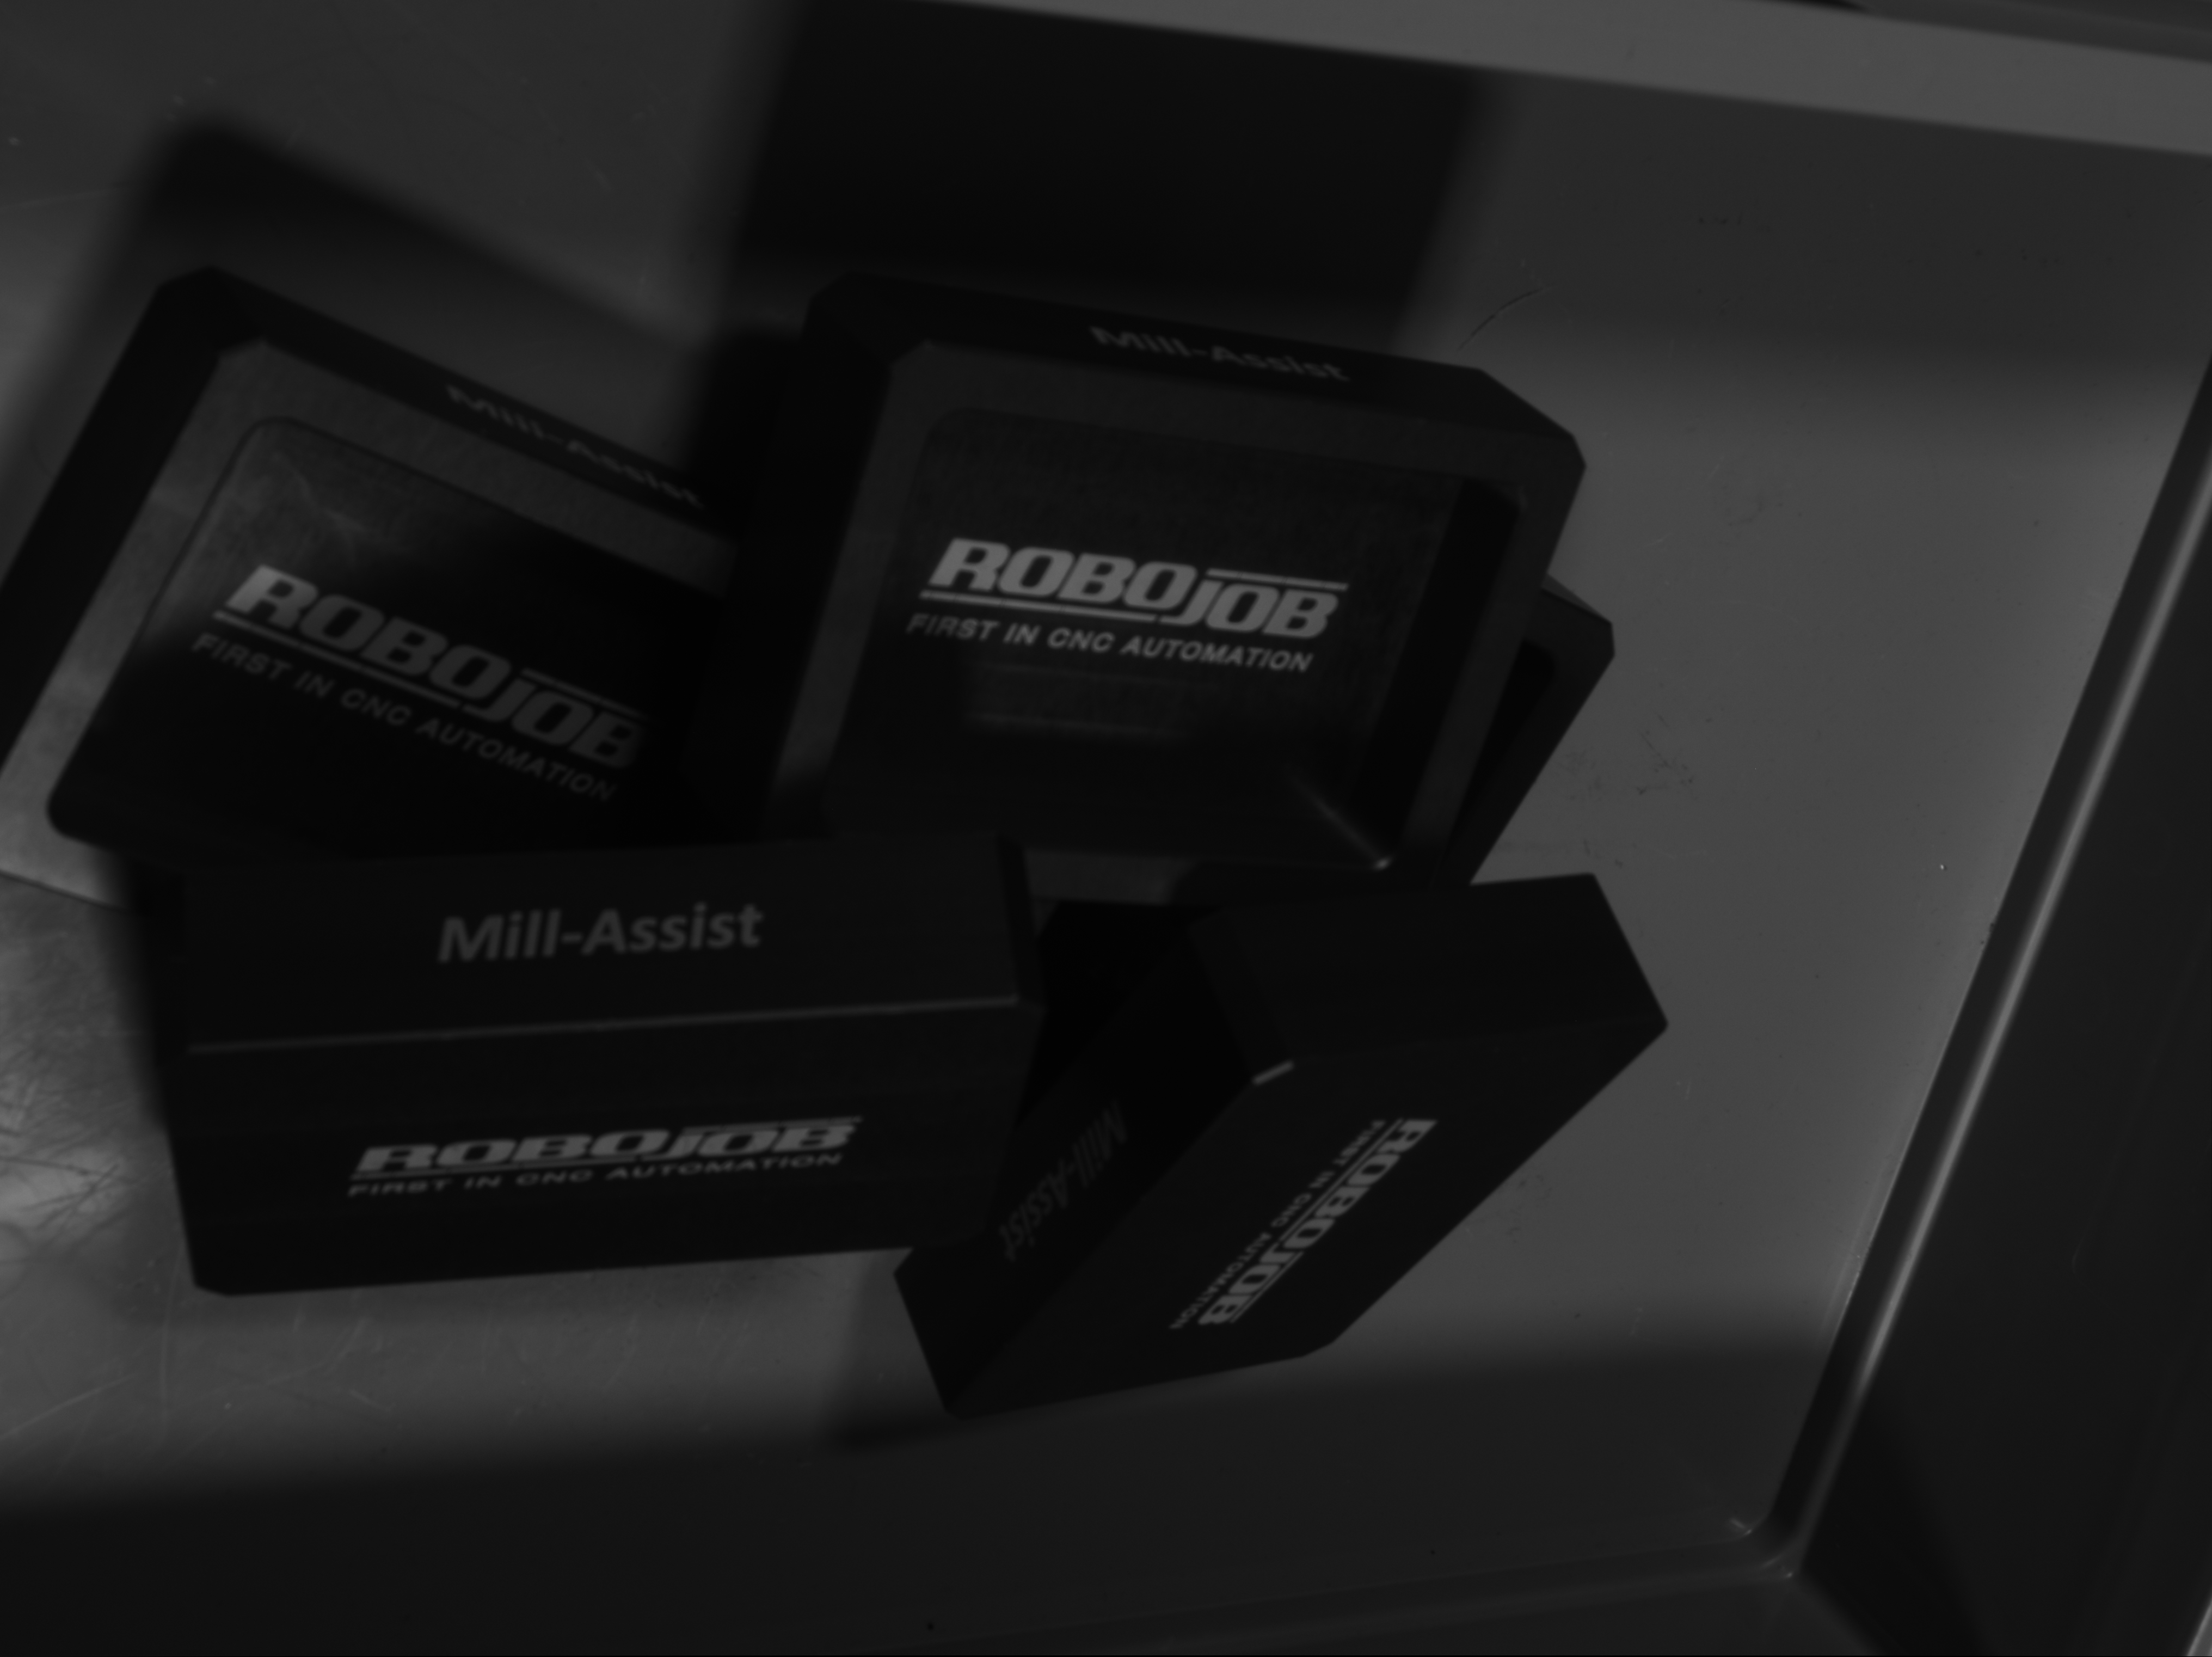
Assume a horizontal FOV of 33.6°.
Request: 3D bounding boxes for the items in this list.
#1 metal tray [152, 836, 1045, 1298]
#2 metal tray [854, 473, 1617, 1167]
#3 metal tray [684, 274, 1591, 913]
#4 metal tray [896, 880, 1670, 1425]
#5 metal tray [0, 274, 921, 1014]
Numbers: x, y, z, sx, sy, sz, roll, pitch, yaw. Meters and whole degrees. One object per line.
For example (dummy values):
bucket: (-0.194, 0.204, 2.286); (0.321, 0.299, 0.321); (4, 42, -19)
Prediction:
metal tray: (-0.080, 0.039, 0.579); (0.130, 0.030, 0.090); (-3, 150, -11)
metal tray: (0.023, 0.000, 0.659); (0.090, 0.030, 0.130); (22, 106, -38)
metal tray: (0.006, -0.034, 0.589); (0.130, 0.030, 0.090); (4, 116, -32)
metal tray: (0.029, 0.059, 0.658); (0.090, 0.030, 0.130); (-5, 149, -34)
metal tray: (-0.103, -0.019, 0.572); (0.130, 0.030, 0.090); (22, 106, -38)
